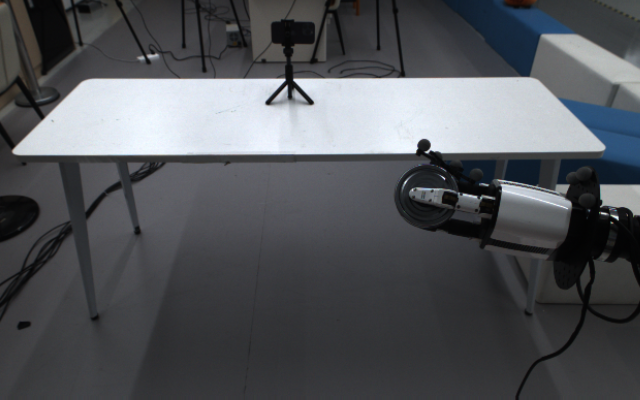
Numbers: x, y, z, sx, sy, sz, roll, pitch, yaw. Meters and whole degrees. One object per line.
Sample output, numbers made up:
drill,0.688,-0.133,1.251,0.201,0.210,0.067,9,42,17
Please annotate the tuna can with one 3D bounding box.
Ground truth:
tuna can,0.146,-0.007,0.655,0.085,0.085,0.034,12,-4,15
